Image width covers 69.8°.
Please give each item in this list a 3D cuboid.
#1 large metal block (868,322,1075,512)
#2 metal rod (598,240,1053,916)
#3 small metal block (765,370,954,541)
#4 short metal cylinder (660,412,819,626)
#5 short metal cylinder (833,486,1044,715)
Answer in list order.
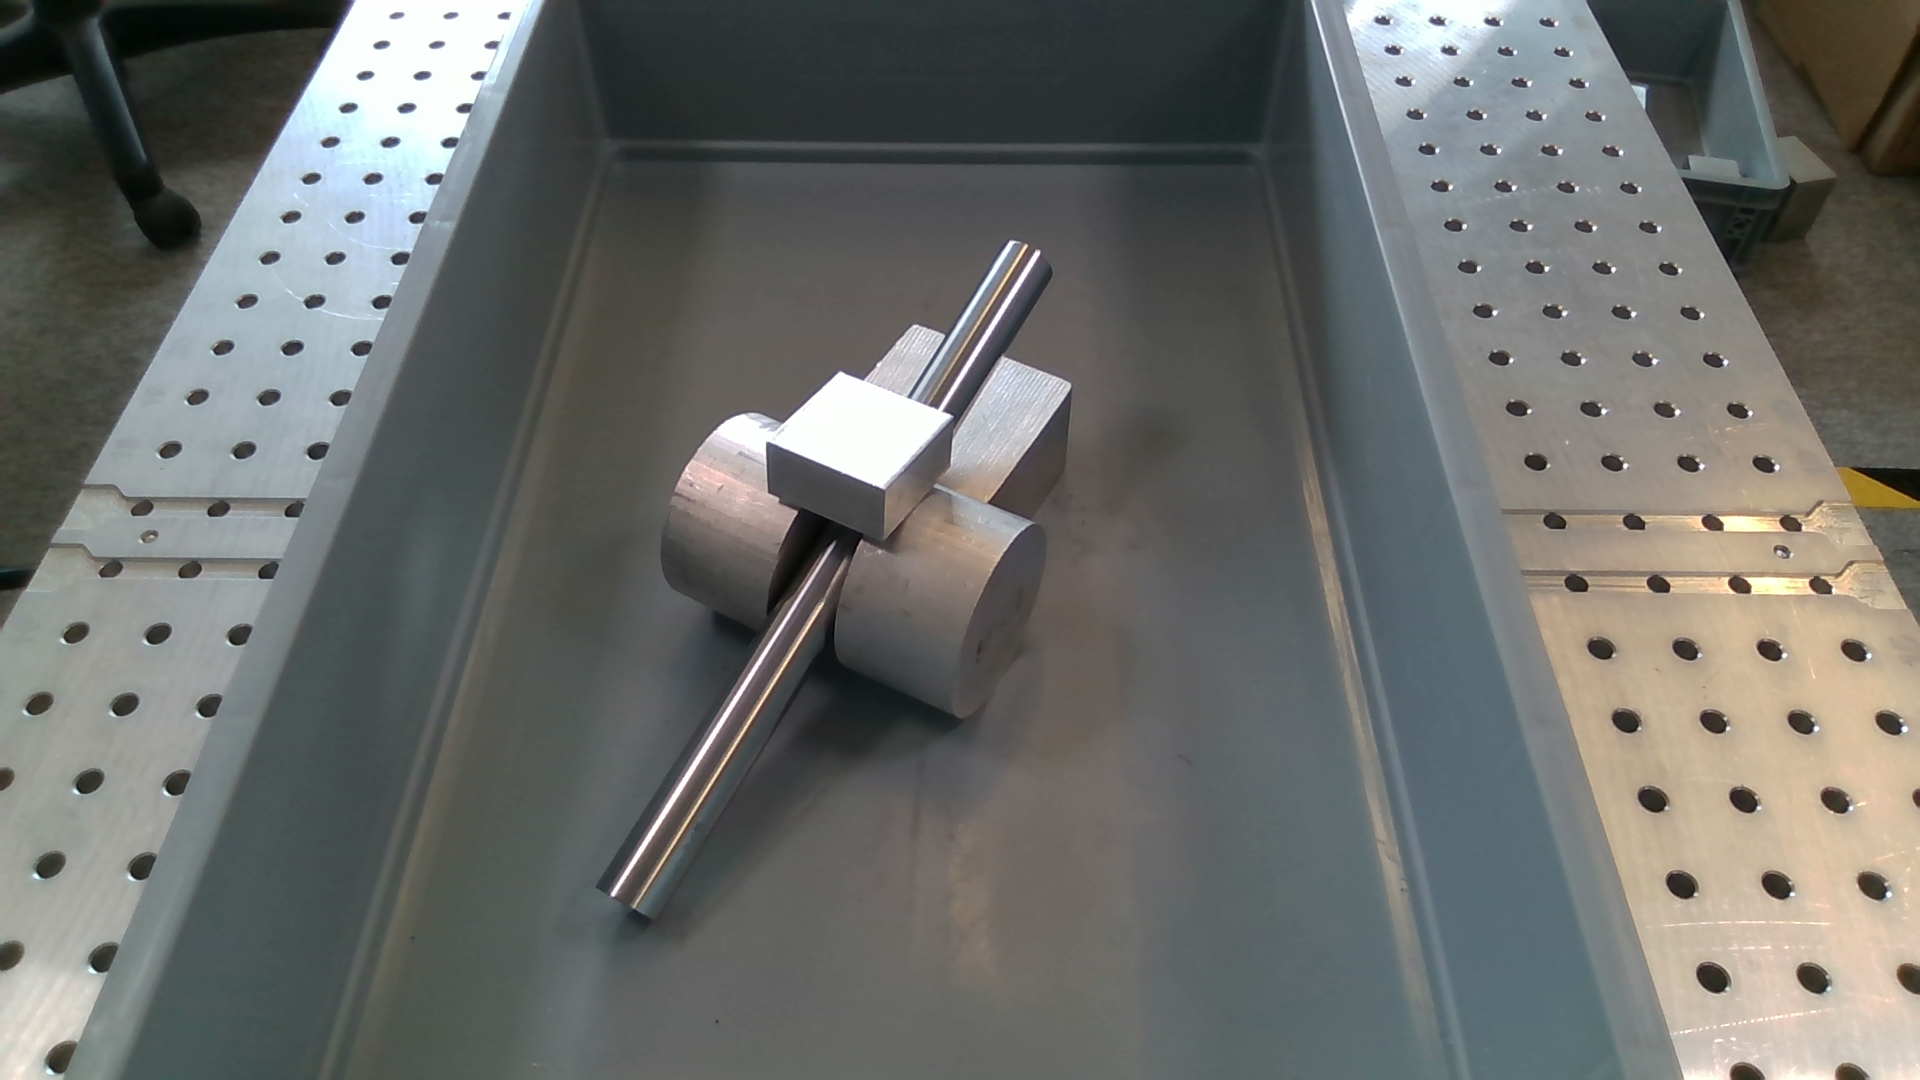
[{"bbox_3d":[-0.005,-0.040,0.600,0.080,0.050,0.080,23,54,18],"label":"large metal block"},{"bbox_3d":[-0.044,0.004,0.531,0.025,0.025,0.299,24,70,19],"label":"metal rod"},{"bbox_3d":[-0.037,-0.032,0.510,0.050,0.025,0.050,23,45,18],"label":"small metal block"},{"bbox_3d":[-0.075,-0.006,0.554,0.050,0.080,0.080,24,54,19],"label":"short metal cylinder"},{"bbox_3d":[-0.007,0.022,0.533,0.050,0.080,0.080,22,54,17],"label":"short metal cylinder"}]
